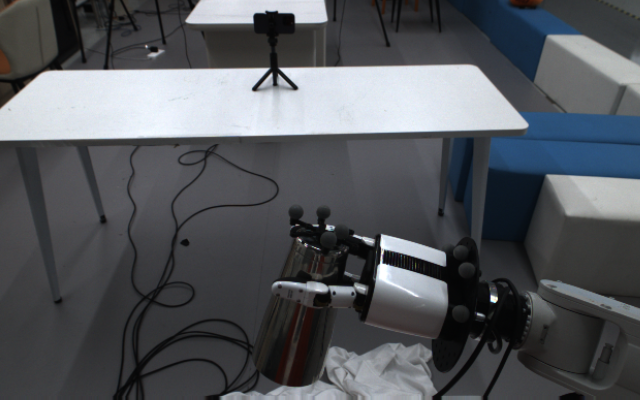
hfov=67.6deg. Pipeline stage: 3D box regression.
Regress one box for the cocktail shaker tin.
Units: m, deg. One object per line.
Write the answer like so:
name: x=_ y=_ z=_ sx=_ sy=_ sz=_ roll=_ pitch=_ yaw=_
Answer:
cocktail shaker tin: x=-0.017 y=0.121 z=0.580 sx=0.093 sy=0.170 sz=0.093 roll=14 pitch=18 yaw=-5
